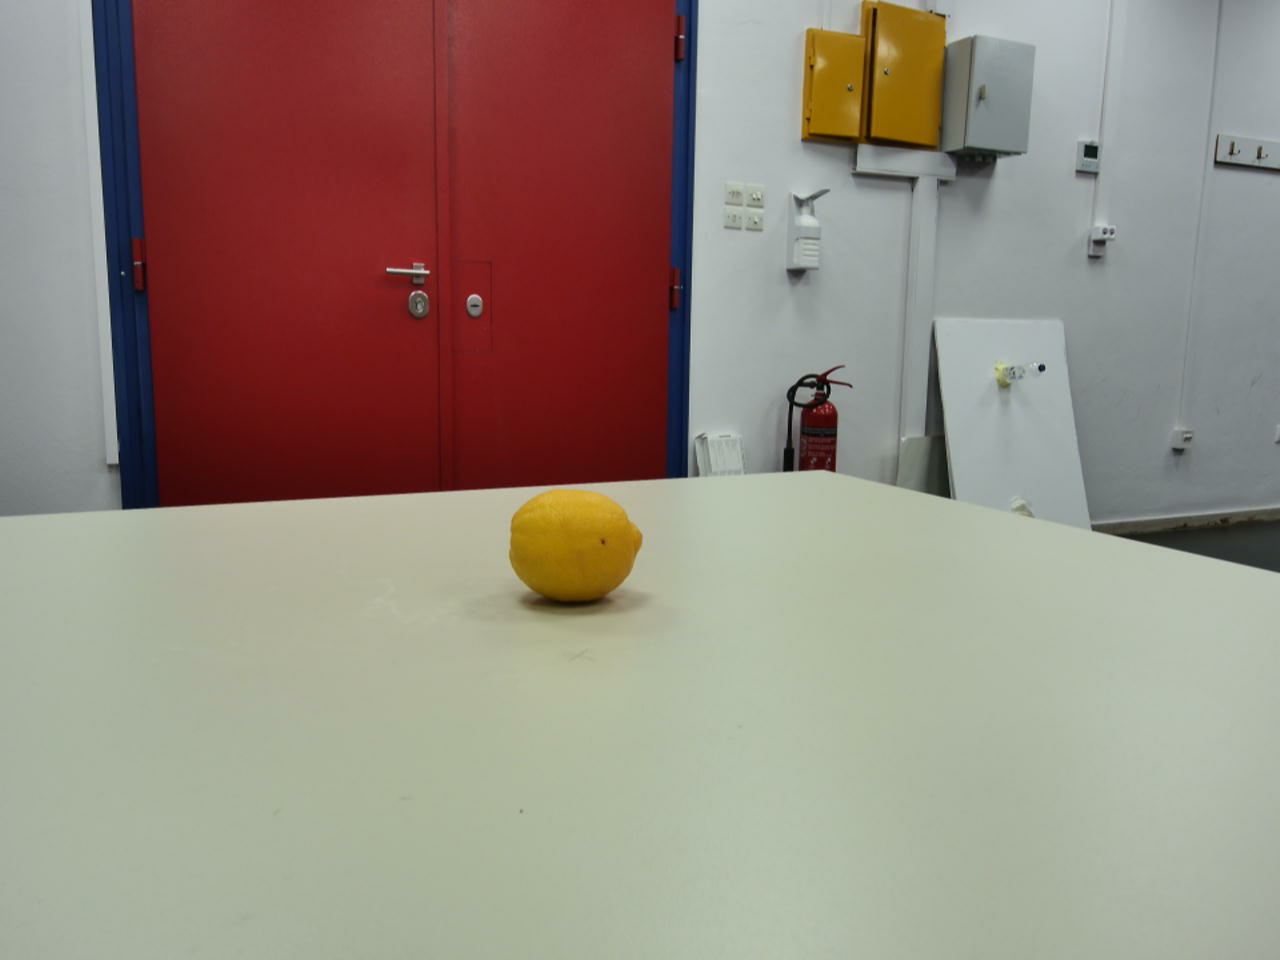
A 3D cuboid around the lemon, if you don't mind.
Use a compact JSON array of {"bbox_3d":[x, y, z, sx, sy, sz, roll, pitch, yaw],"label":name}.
[{"bbox_3d":[-0.036,0.035,0.530,0.067,0.059,0.060,3,7,17],"label":"lemon"}]
